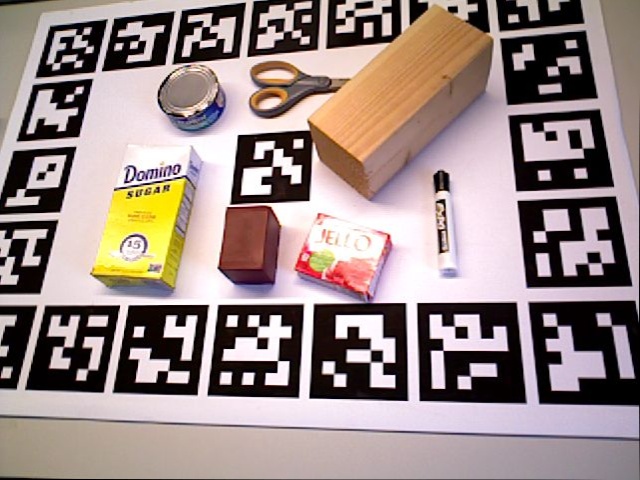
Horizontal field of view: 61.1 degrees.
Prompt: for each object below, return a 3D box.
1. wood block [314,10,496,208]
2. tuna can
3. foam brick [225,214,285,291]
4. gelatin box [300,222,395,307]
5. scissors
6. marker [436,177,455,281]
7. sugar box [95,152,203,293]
[{"bbox_3d":[0.102,-0.150,0.632,0.205,0.092,0.090,-44,66,-8],"label":"wood block"},{"bbox_3d":[-0.177,-0.181,0.728,0.086,0.034,0.085,-4,69,10],"label":"tuna can"},{"bbox_3d":[-0.073,0.016,0.621,0.053,0.052,0.077,0,70,12],"label":"foam brick"},{"bbox_3d":[0.031,0.026,0.610,0.089,0.030,0.072,16,74,18],"label":"gelatin box"},{"bbox_3d":[-0.005,-0.191,0.708,0.203,0.016,0.087,4,71,16],"label":"scissors"},{"bbox_3d":[0.140,-0.014,0.606,0.020,0.020,0.120,-1,72,11],"label":"marker"},{"bbox_3d":[-0.208,-0.024,0.674,0.093,0.045,0.175,2,70,12],"label":"sugar box"}]
